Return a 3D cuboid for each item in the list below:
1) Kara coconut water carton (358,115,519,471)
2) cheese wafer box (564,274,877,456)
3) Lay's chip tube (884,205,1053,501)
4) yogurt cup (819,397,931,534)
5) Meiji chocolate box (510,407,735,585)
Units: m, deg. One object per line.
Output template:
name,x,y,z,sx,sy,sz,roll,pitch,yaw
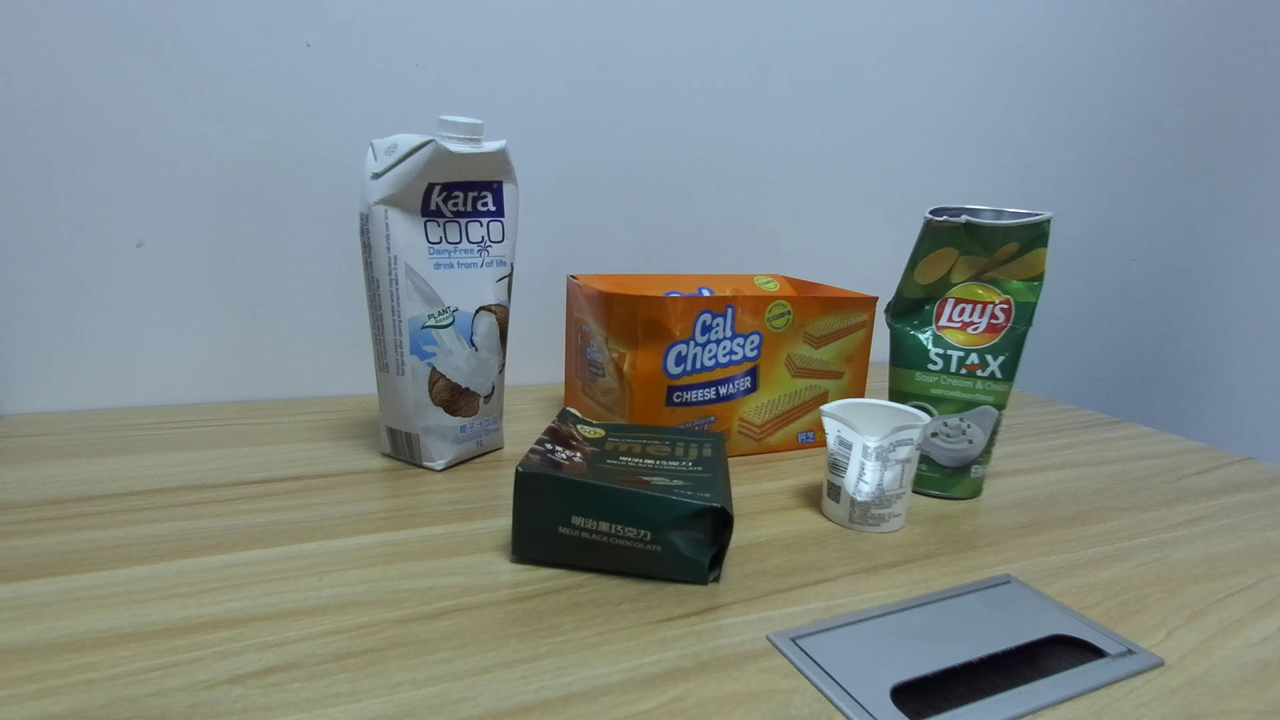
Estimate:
Kara coconut water carton,-0.139,-0.047,0.499,0.069,0.238,0.115,13,16,32
cheese wafer box,0.060,0.001,0.596,0.231,0.132,0.151,-2,15,-26
Lay's chip tube,0.224,-0.005,0.502,0.077,0.201,0.069,-5,15,-24
yogurt cup,0.146,0.066,0.452,0.067,0.070,0.067,2,12,0
Meiji chocolate box,-0.005,0.076,0.411,0.115,0.058,0.122,7,14,7
